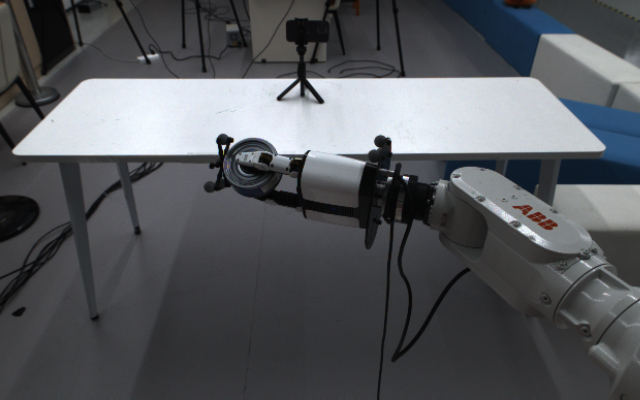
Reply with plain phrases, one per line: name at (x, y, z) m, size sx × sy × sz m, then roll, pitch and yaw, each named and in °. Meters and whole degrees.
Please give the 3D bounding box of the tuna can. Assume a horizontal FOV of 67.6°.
tuna can at (-0.099, -0.050, 0.723) m, size 0.085 × 0.034 × 0.085 m, roll -2°, pitch 69°, yaw 6°
